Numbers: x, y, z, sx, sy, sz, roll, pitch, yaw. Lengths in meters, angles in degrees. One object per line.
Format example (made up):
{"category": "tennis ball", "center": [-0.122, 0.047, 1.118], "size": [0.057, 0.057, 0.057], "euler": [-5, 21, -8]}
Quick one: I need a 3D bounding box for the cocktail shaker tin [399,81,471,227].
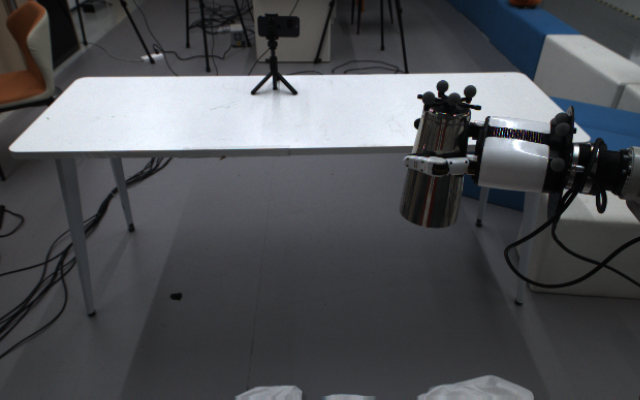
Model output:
{"category": "cocktail shaker tin", "center": [0.176, -0.056, 0.717], "size": [0.093, 0.170, 0.093], "euler": [2, 30, -1]}
